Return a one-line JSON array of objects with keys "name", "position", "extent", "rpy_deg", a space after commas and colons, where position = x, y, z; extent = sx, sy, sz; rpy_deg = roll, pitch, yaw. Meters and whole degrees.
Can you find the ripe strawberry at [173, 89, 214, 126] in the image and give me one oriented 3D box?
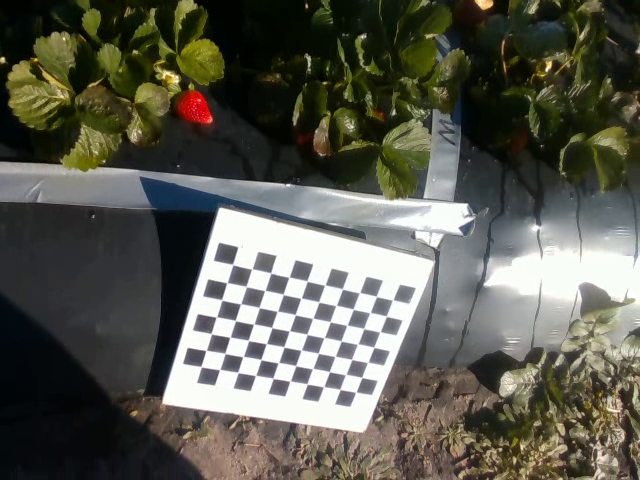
[{"name": "ripe strawberry", "position": [-0.152, -0.161, 0.745], "extent": [0.058, 0.046, 0.042], "rpy_deg": [44, 6, -5]}]
